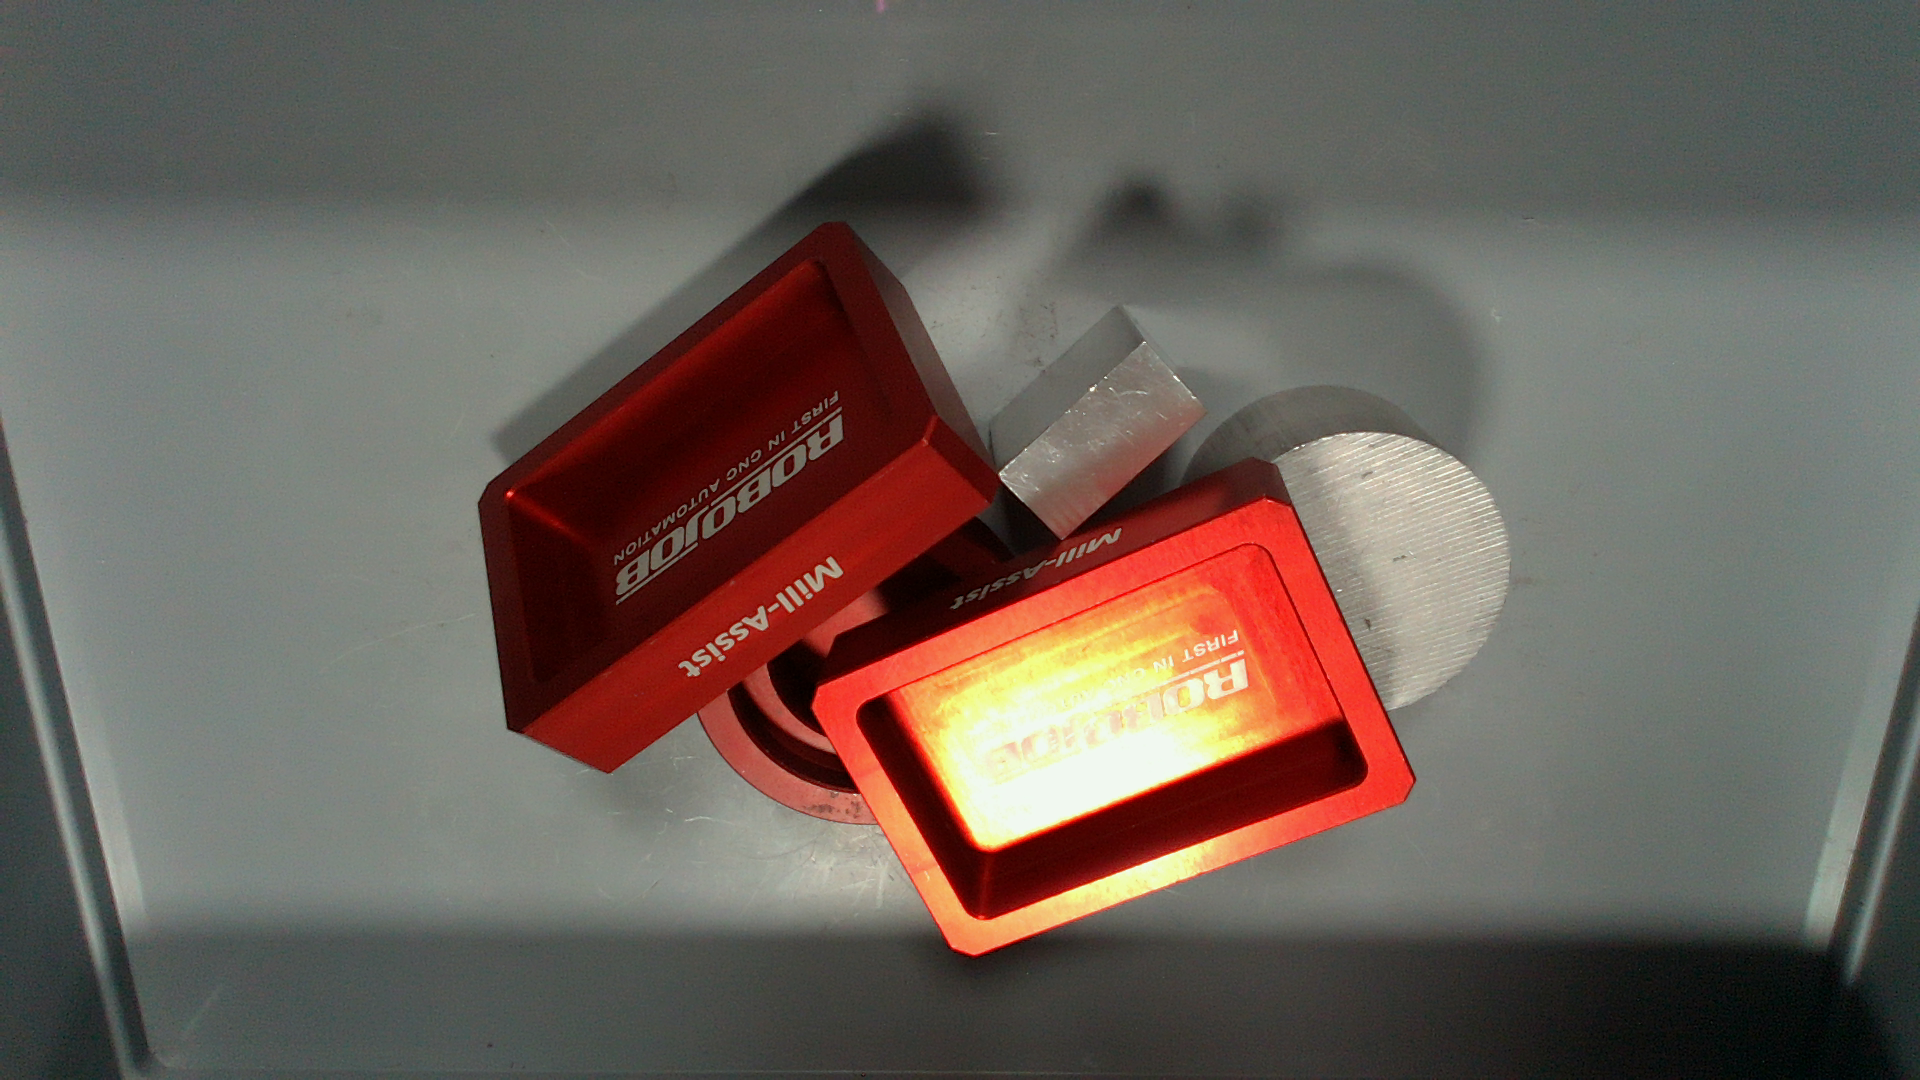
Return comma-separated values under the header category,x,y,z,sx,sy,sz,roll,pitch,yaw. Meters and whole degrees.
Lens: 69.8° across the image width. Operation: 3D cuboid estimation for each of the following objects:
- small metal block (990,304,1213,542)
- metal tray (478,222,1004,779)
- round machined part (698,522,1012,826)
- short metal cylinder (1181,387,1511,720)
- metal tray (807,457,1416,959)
category,x,y,z,sx,sy,sz,roll,pitch,yaw
small metal block,0.036,-0.033,0.367,0.050,0.050,0.025,-42,105,12
metal tray,-0.061,-0.011,0.352,0.130,0.090,0.030,-35,138,11
round machined part,-0.026,0.029,0.395,0.098,0.042,0.098,0,110,0
short metal cylinder,0.103,0.002,0.380,0.080,0.050,0.080,0,110,0
metal tray,0.038,0.046,0.356,0.130,0.030,0.090,-24,108,13
